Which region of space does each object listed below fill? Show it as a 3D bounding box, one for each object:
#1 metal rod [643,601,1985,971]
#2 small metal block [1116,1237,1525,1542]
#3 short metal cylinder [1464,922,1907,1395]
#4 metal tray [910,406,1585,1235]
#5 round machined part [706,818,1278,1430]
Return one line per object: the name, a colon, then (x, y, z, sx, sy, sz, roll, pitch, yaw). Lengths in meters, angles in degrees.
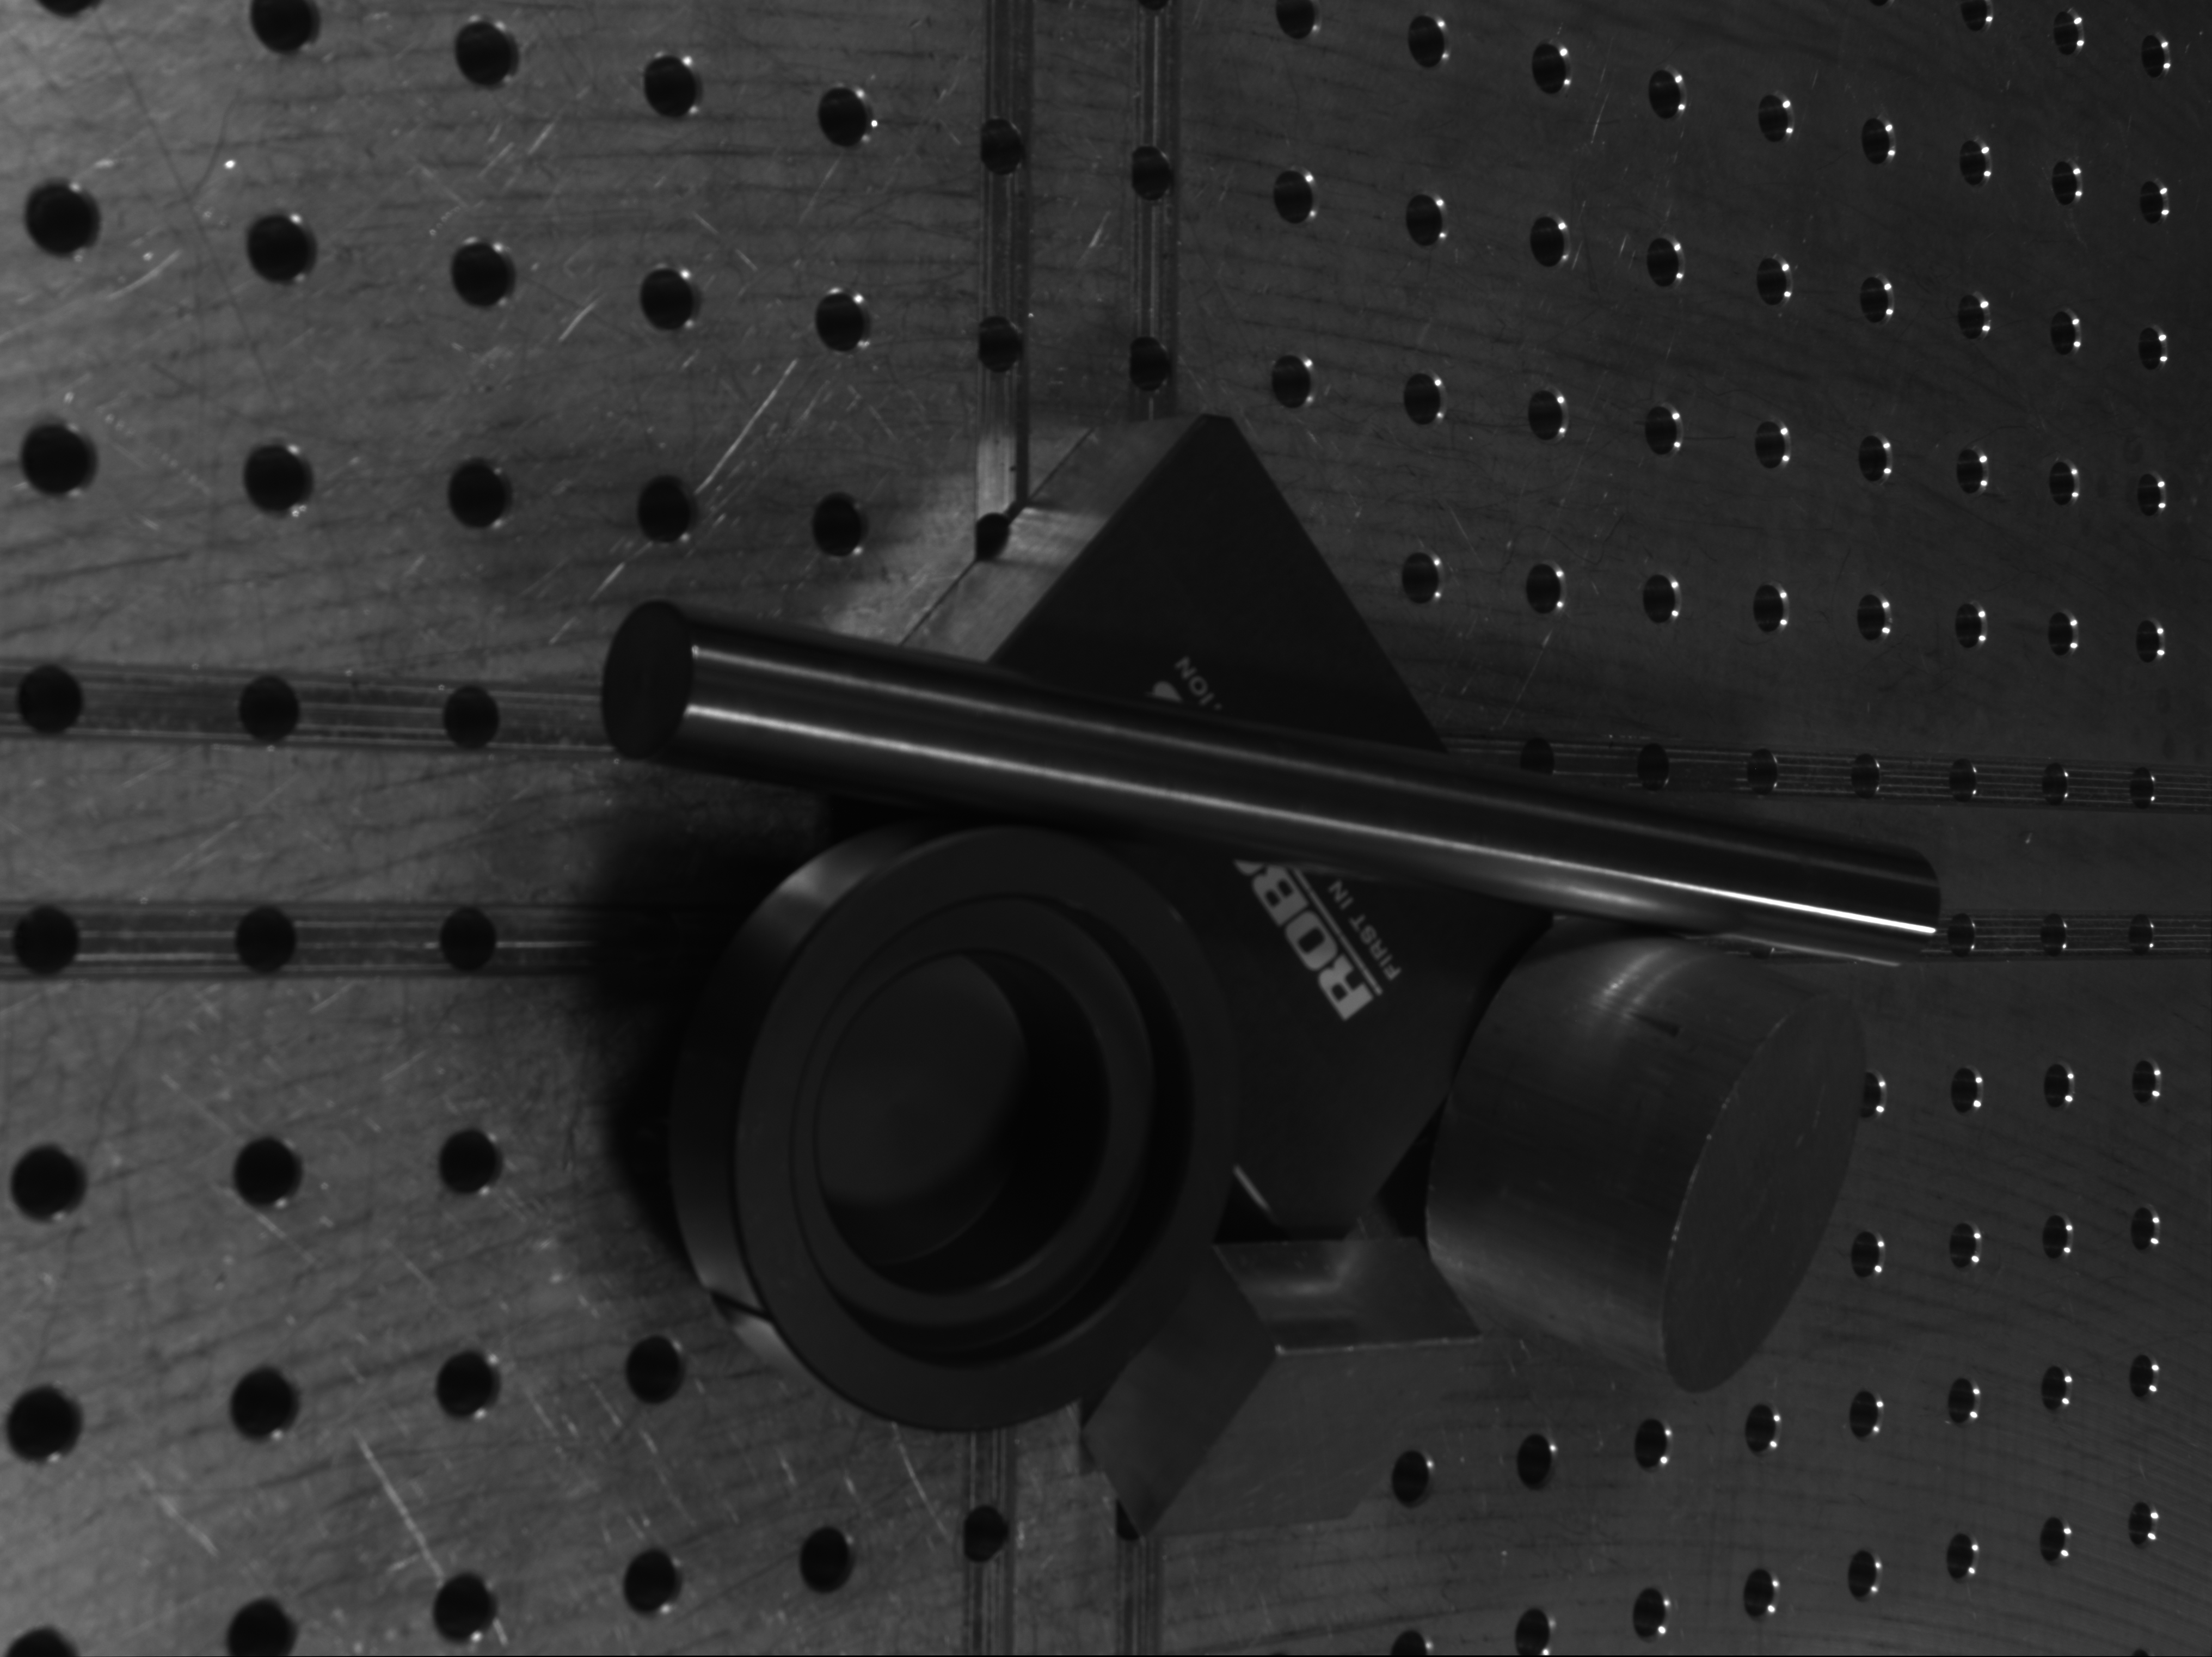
metal rod: (0.052, -0.003, 0.643, 0.301, 0.025, 0.025, 9, 84, -39)
small metal block: (0.038, 0.100, 0.655, 0.050, 0.025, 0.050, 4, 131, -40)
short metal cylinder: (0.111, 0.061, 0.697, 0.080, 0.050, 0.080, -35, 135, -43)
metal tray: (0.025, 0.001, 0.660, 0.090, 0.030, 0.130, -51, 120, -28)
round machined part: (-0.023, 0.046, 0.604, 0.098, 0.042, 0.098, -5, 99, -34)
